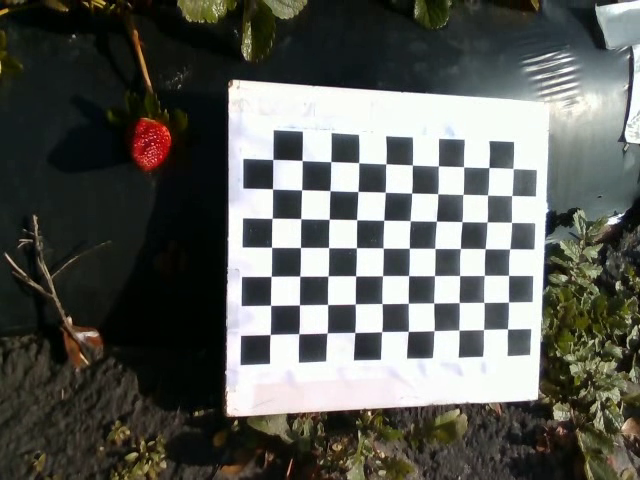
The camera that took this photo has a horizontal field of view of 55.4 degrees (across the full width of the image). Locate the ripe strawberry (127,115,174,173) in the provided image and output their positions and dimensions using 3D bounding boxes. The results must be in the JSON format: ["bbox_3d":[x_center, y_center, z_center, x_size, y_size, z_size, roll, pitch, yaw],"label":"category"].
[{"bbox_3d":[-0.048,-0.027,0.167,0.015,0.015,0.023,9,39,-15],"label":"ripe strawberry"}]
